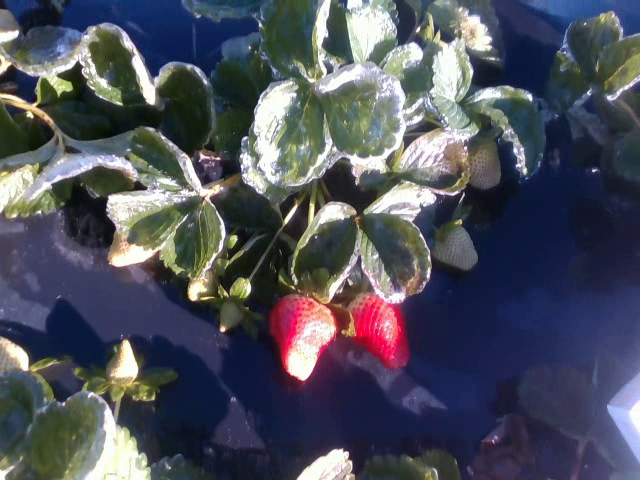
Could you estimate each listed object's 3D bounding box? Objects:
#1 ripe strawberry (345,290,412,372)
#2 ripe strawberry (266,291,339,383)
[{"bbox_3d":[0.045,0.063,0.422,0.043,0.059,0.040,-35,1,-12],"label":"ripe strawberry"},{"bbox_3d":[-0.009,0.071,0.419,0.052,0.070,0.040,14,-13,-19],"label":"ripe strawberry"}]
